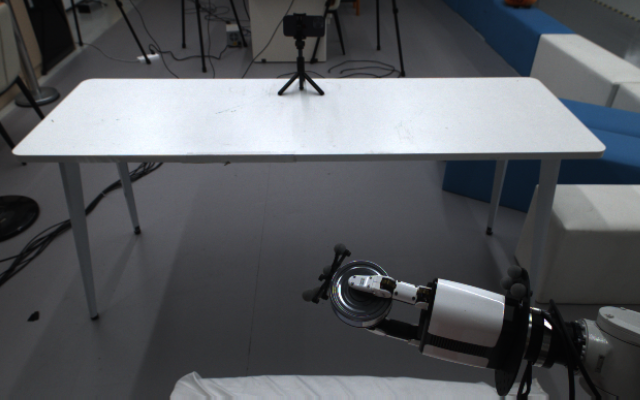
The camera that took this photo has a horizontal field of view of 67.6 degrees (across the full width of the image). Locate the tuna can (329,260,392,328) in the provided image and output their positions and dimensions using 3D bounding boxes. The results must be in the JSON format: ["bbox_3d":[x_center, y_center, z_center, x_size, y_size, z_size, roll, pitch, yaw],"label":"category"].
[{"bbox_3d":[0.058,0.124,0.648,0.085,0.034,0.085,-1,61,1],"label":"tuna can"}]
